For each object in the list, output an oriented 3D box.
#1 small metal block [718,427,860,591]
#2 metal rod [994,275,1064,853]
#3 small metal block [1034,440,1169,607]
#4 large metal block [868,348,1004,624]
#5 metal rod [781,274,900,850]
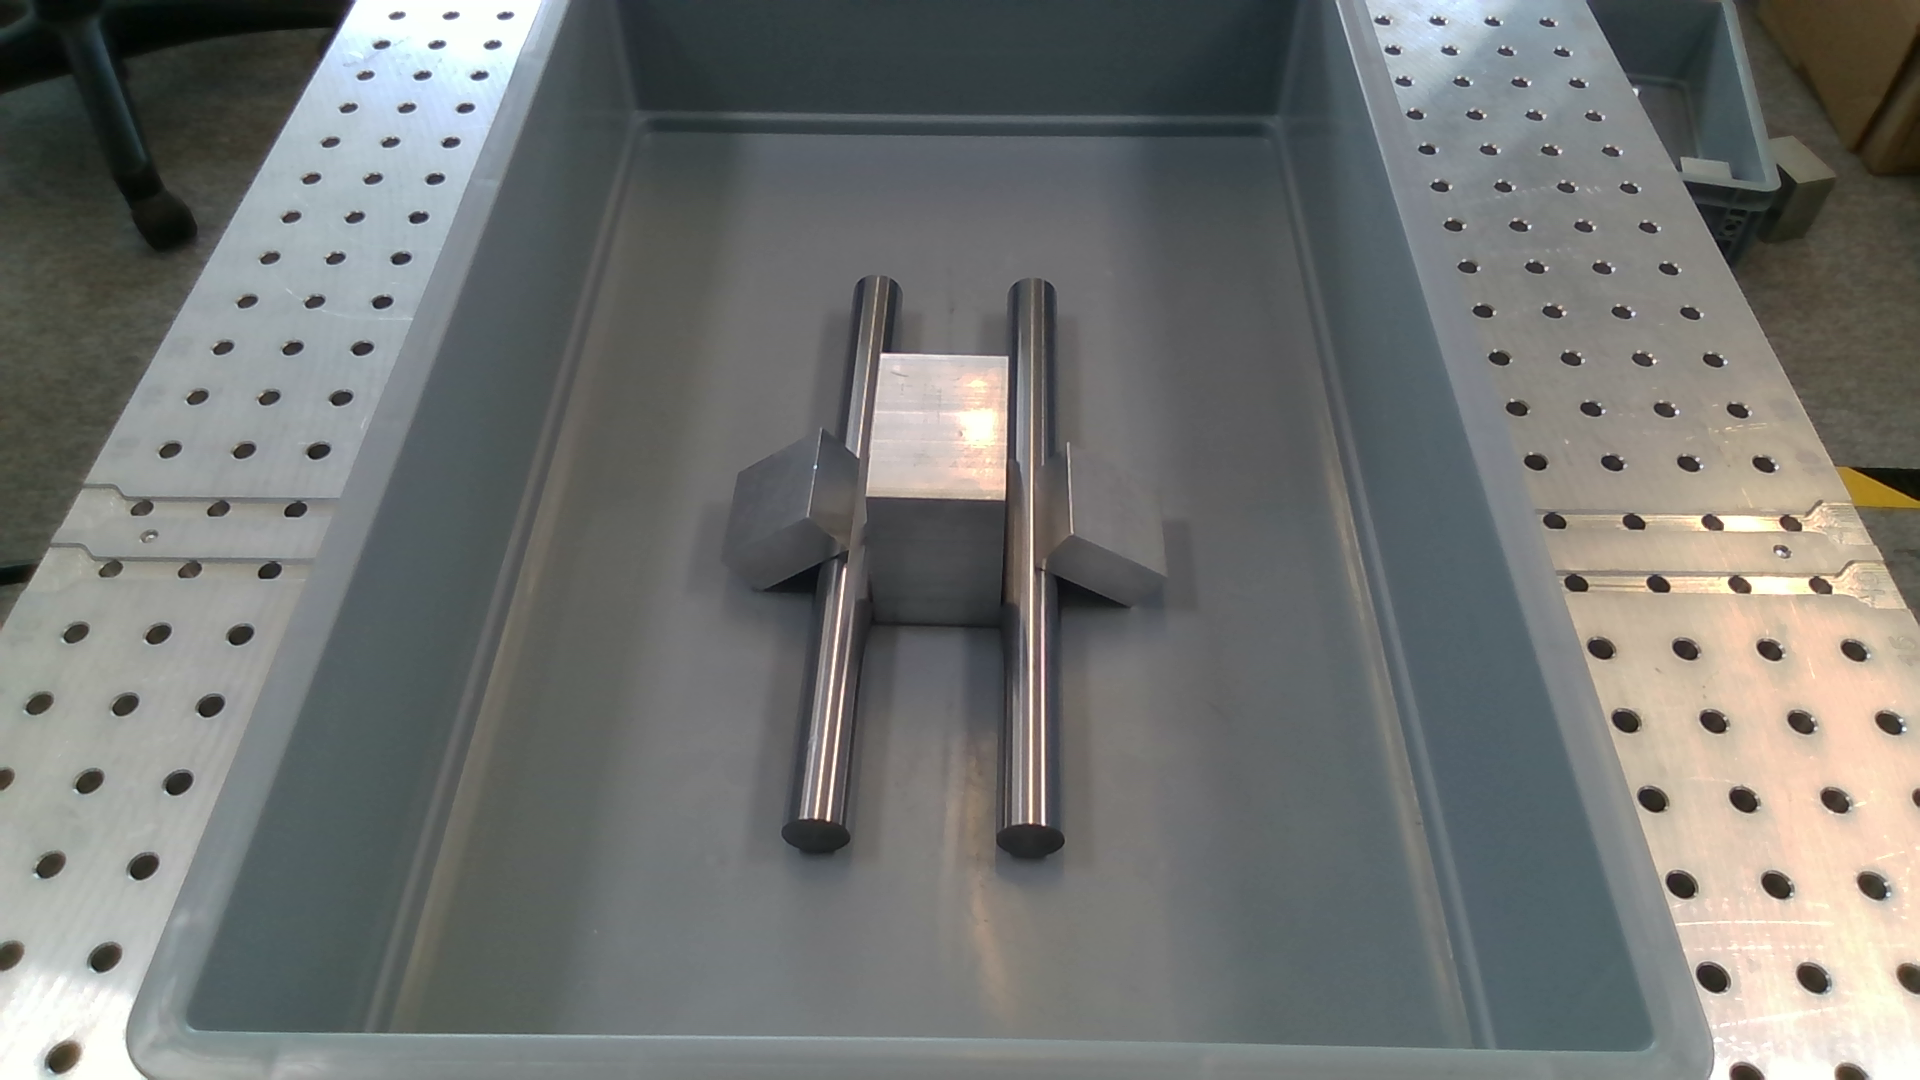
[{"bbox_3d":[-0.071,-0.013,0.581,0.050,0.025,0.050,-24,43,30],"label":"small metal block"},{"bbox_3d":[0.030,-0.008,0.591,0.025,0.025,0.299,2,50,1],"label":"metal rod"},{"bbox_3d":[0.058,-0.007,0.576,0.050,0.025,0.050,24,45,-25],"label":"small metal block"},{"bbox_3d":[-0.008,-0.022,0.567,0.050,0.080,0.080,1,50,1],"label":"large metal block"},{"bbox_3d":[-0.047,-0.009,0.593,0.025,0.025,0.299,2,50,1],"label":"metal rod"}]
